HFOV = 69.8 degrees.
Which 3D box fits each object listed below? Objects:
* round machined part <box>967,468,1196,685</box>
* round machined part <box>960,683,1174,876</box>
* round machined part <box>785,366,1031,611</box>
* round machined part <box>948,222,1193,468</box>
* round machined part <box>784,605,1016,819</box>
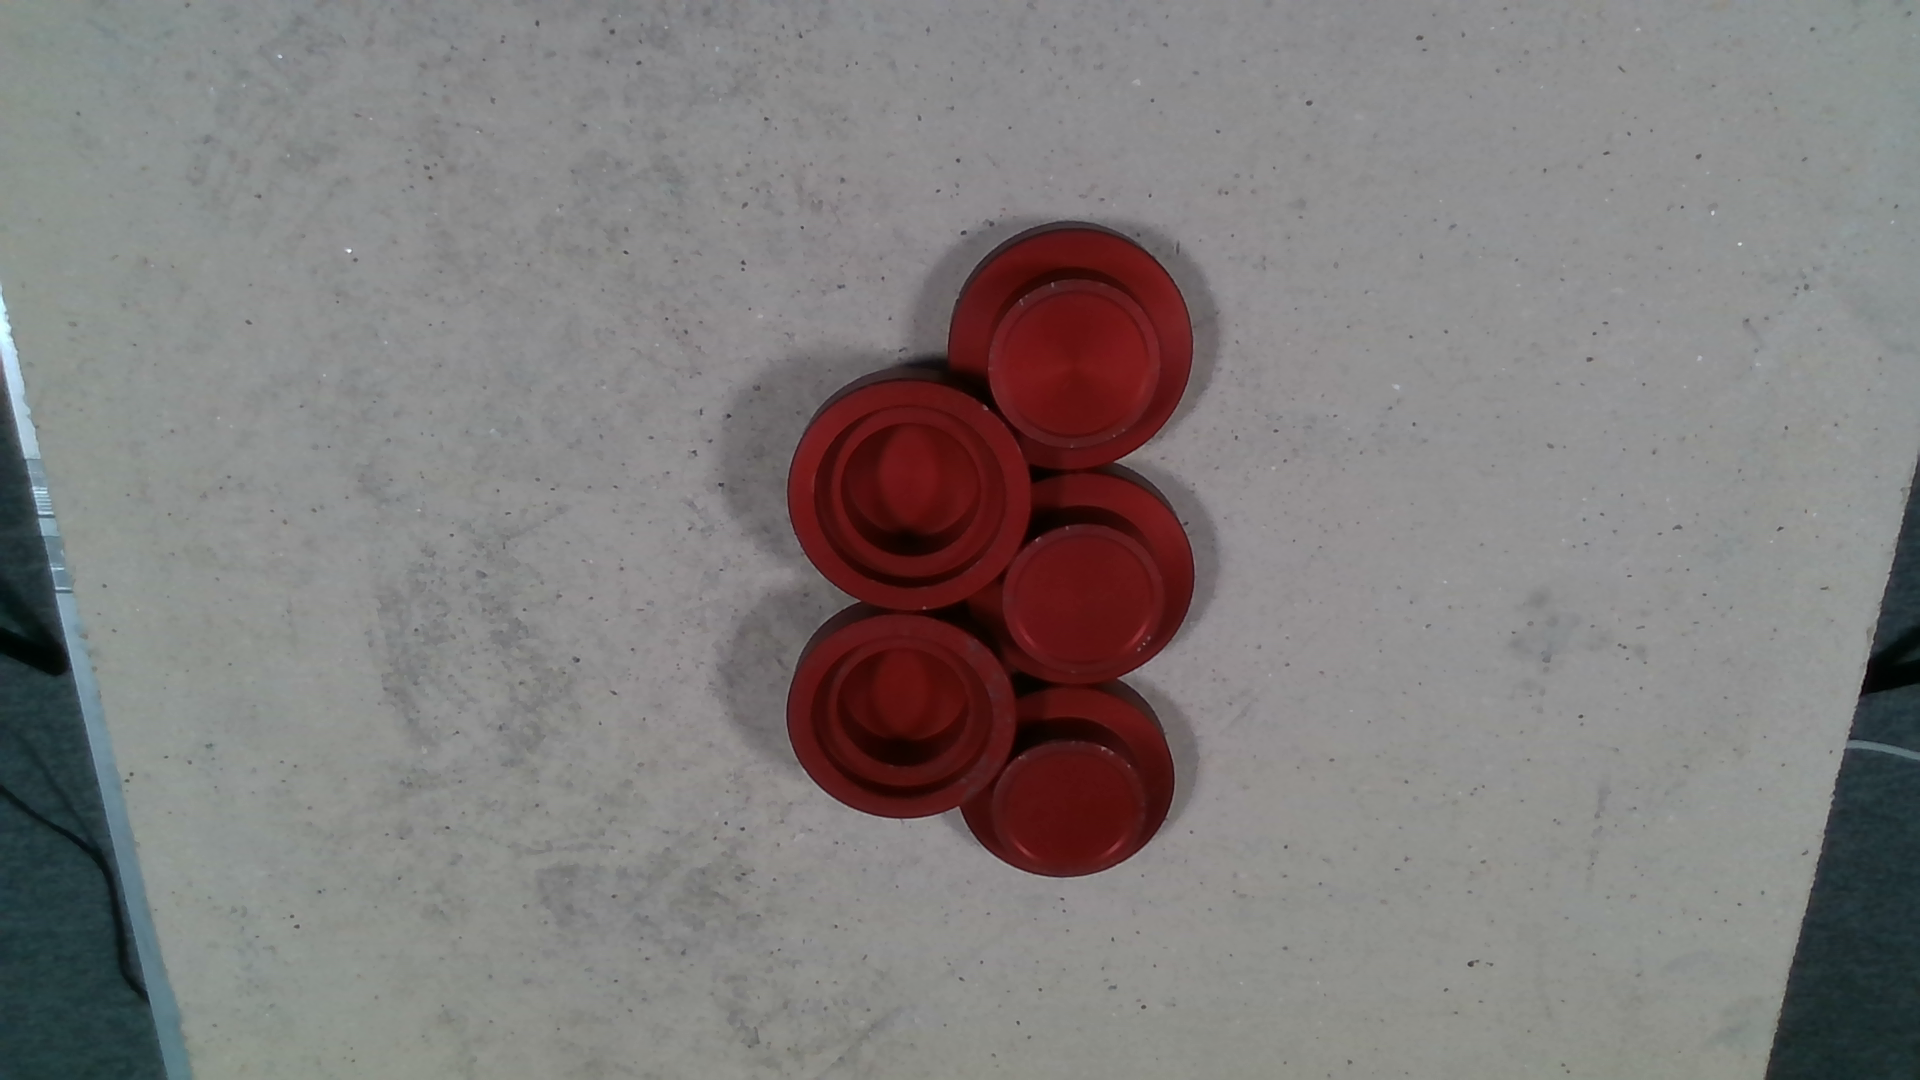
[{"bbox_3d":[0.051,0.018,0.582,0.098,0.042,0.098,0,110,0],"label":"round machined part"},{"bbox_3d":[0.047,0.110,0.616,0.098,0.042,0.098,0,110,0],"label":"round machined part"},{"bbox_3d":[-0.021,-0.024,0.567,0.098,0.042,0.098,0,110,0],"label":"round machined part"},{"bbox_3d":[0.044,-0.075,0.548,0.098,0.042,0.098,0,110,0],"label":"round machined part"},{"bbox_3d":[-0.025,0.069,0.601,0.098,0.042,0.098,0,110,0],"label":"round machined part"}]
